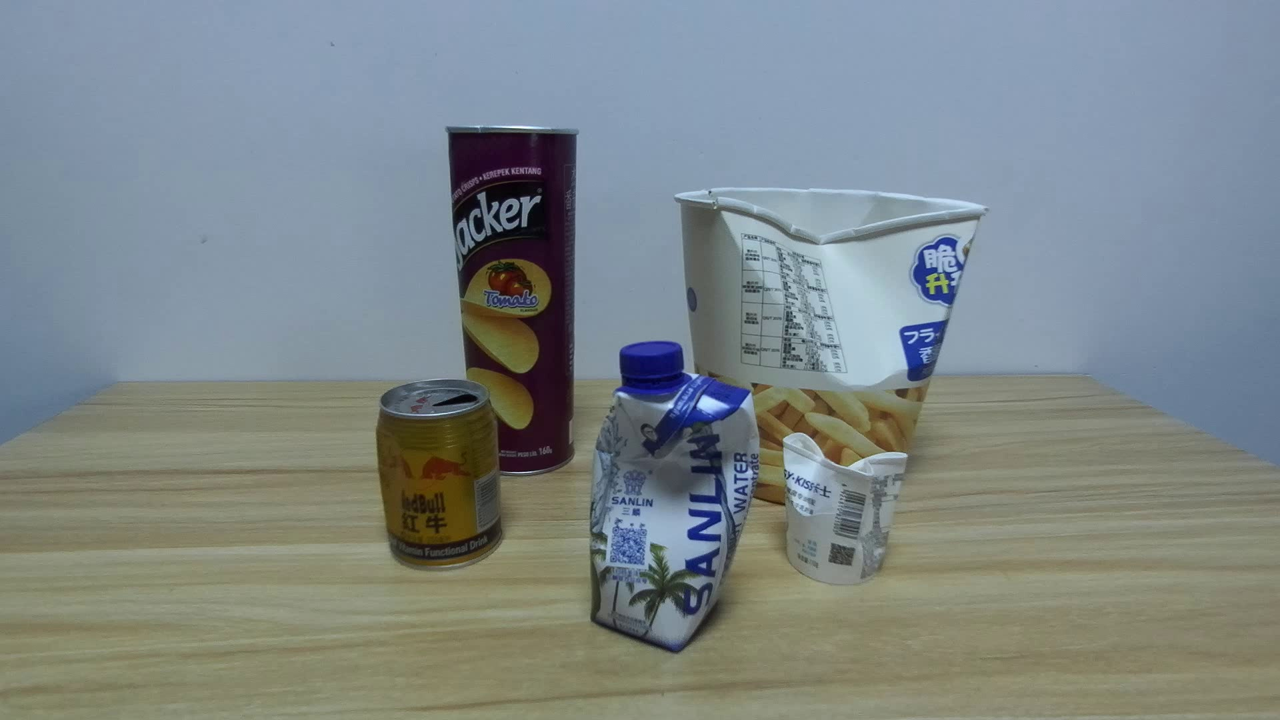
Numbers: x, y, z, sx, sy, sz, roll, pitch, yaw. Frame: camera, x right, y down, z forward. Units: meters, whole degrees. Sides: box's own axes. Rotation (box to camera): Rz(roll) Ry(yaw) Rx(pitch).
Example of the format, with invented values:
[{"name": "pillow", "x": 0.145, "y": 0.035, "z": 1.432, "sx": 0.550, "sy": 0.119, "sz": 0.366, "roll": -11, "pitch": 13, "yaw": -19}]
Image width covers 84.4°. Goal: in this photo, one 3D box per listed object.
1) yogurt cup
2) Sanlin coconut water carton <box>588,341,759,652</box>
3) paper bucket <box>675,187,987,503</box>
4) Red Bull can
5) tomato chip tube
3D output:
[{"name": "yogurt cup", "x": 0.110, "y": 0.081, "z": 0.396, "sx": 0.055, "sy": 0.072, "sz": 0.054, "roll": -15, "pitch": 24, "yaw": -34}, {"name": "Sanlin coconut water carton", "x": 0.014, "y": 0.065, "z": 0.329, "sx": 0.068, "sy": 0.144, "sz": 0.057, "roll": 19, "pitch": 30, "yaw": 24}, {"name": "paper bucket", "x": 0.112, "y": -0.015, "z": 0.496, "sx": 0.163, "sy": 0.202, "sz": 0.168, "roll": -13, "pitch": 20, "yaw": -33}, {"name": "Red Bull can", "x": -0.114, "y": 0.064, "z": 0.405, "sx": 0.068, "sy": 0.093, "sz": 0.068, "roll": 2, "pitch": 17, "yaw": 0}, {"name": "tomato chip tube", "x": -0.084, "y": -0.040, "z": 0.496, "sx": 0.080, "sy": 0.234, "sz": 0.077, "roll": 10, "pitch": 18, "yaw": 31}]
